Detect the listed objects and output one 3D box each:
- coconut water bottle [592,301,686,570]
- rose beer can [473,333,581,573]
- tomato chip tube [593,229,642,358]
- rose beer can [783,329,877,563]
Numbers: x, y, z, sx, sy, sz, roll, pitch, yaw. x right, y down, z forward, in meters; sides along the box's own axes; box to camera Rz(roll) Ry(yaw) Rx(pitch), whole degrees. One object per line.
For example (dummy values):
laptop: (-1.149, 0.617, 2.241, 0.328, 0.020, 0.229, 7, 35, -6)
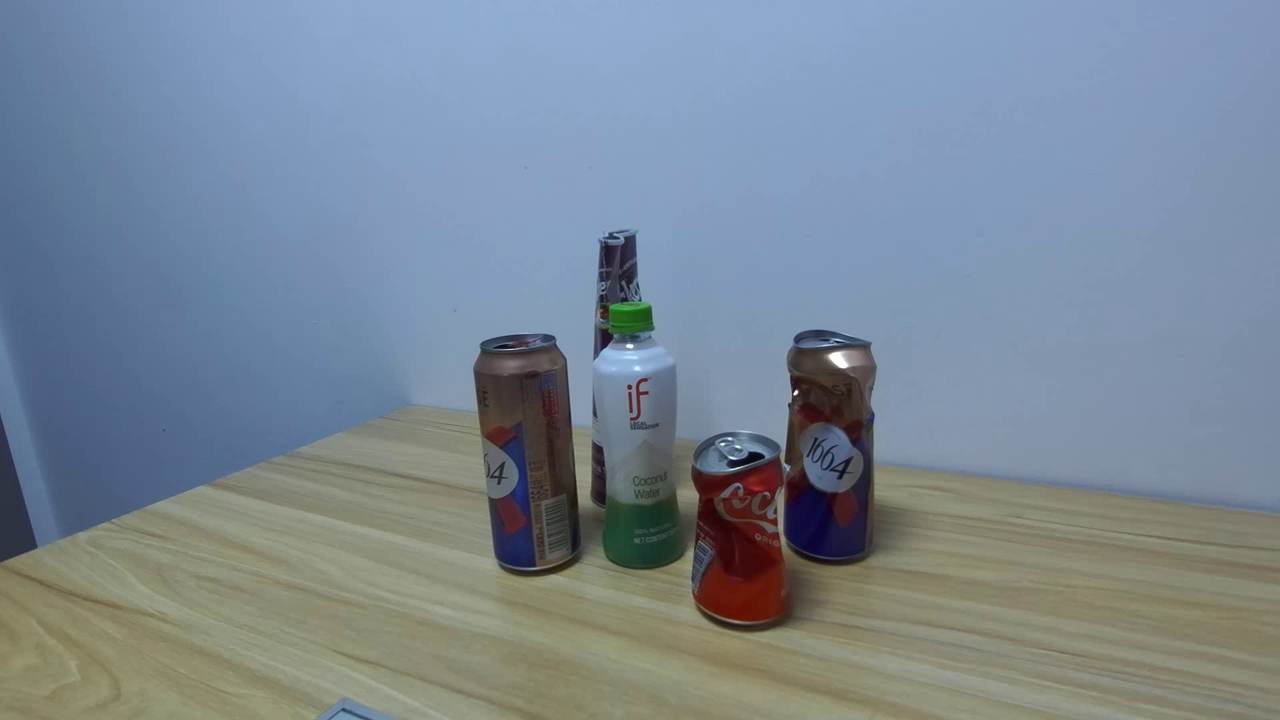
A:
coconut water bottle: (-0.002, 0.054, 0.519, 0.063, 0.188, 0.063, -3, 13, 1)
rose beer can: (-0.082, 0.070, 0.525, 0.068, 0.169, 0.068, -3, 13, 1)
tomato chip tube: (-0.012, 0.010, 0.612, 0.090, 0.235, 0.077, -12, 17, -38)
rose beer can: (0.138, 0.063, 0.515, 0.073, 0.162, 0.068, 7, 16, 32)
